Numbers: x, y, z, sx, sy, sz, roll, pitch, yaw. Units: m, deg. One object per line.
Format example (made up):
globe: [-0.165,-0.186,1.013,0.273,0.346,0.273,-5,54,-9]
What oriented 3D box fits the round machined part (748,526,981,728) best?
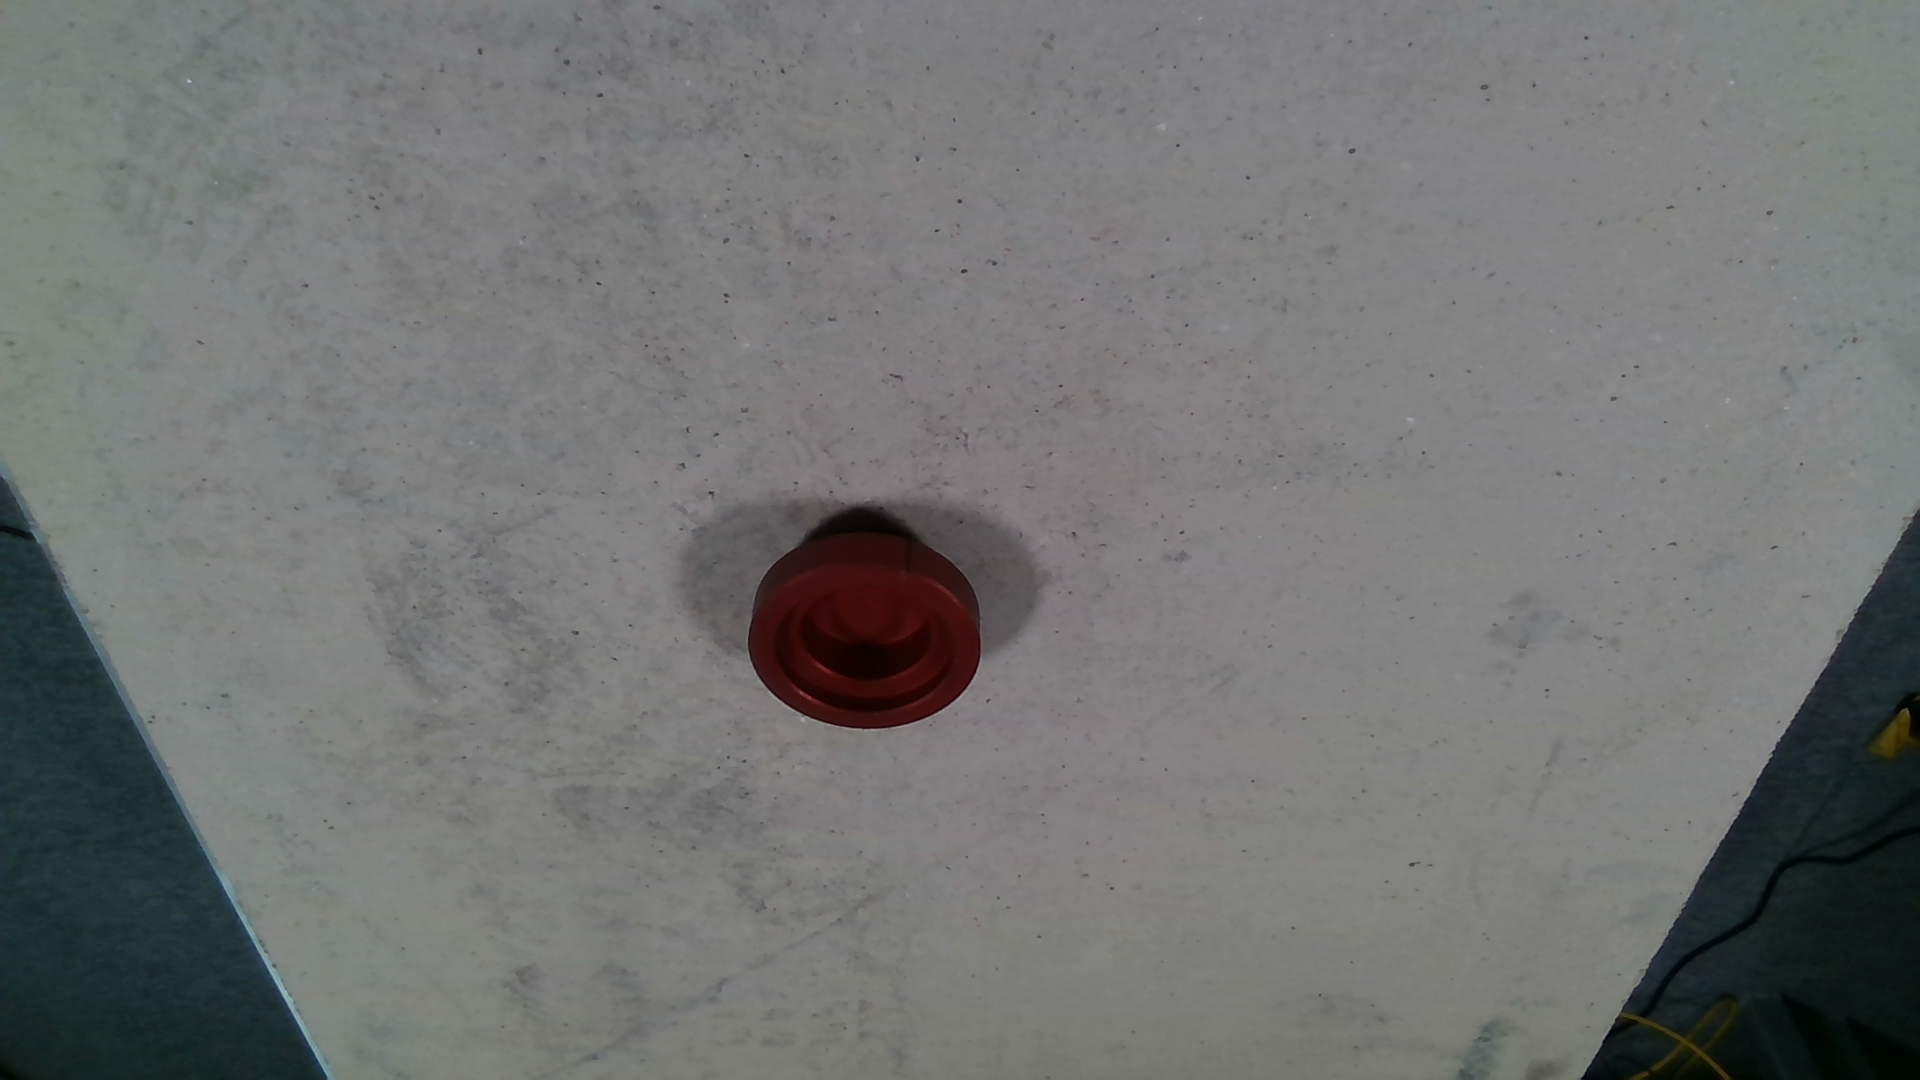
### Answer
round machined part: [-0.040,0.033,0.596,0.098,0.042,0.098,0,130,0]
